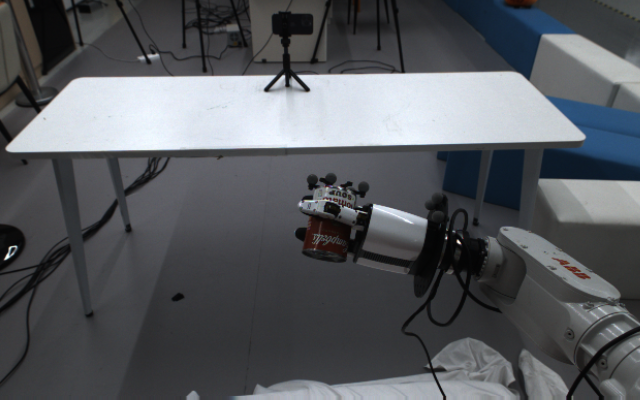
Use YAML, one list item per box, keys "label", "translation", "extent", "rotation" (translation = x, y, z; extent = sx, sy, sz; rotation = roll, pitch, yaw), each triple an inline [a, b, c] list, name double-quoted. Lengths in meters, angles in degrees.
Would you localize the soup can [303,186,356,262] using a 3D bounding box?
- label: "soup can"
  translation: [0.016, 0.036, 0.722]
  extent: [0.067, 0.067, 0.101]
  rotation: [8, 72, 9]
